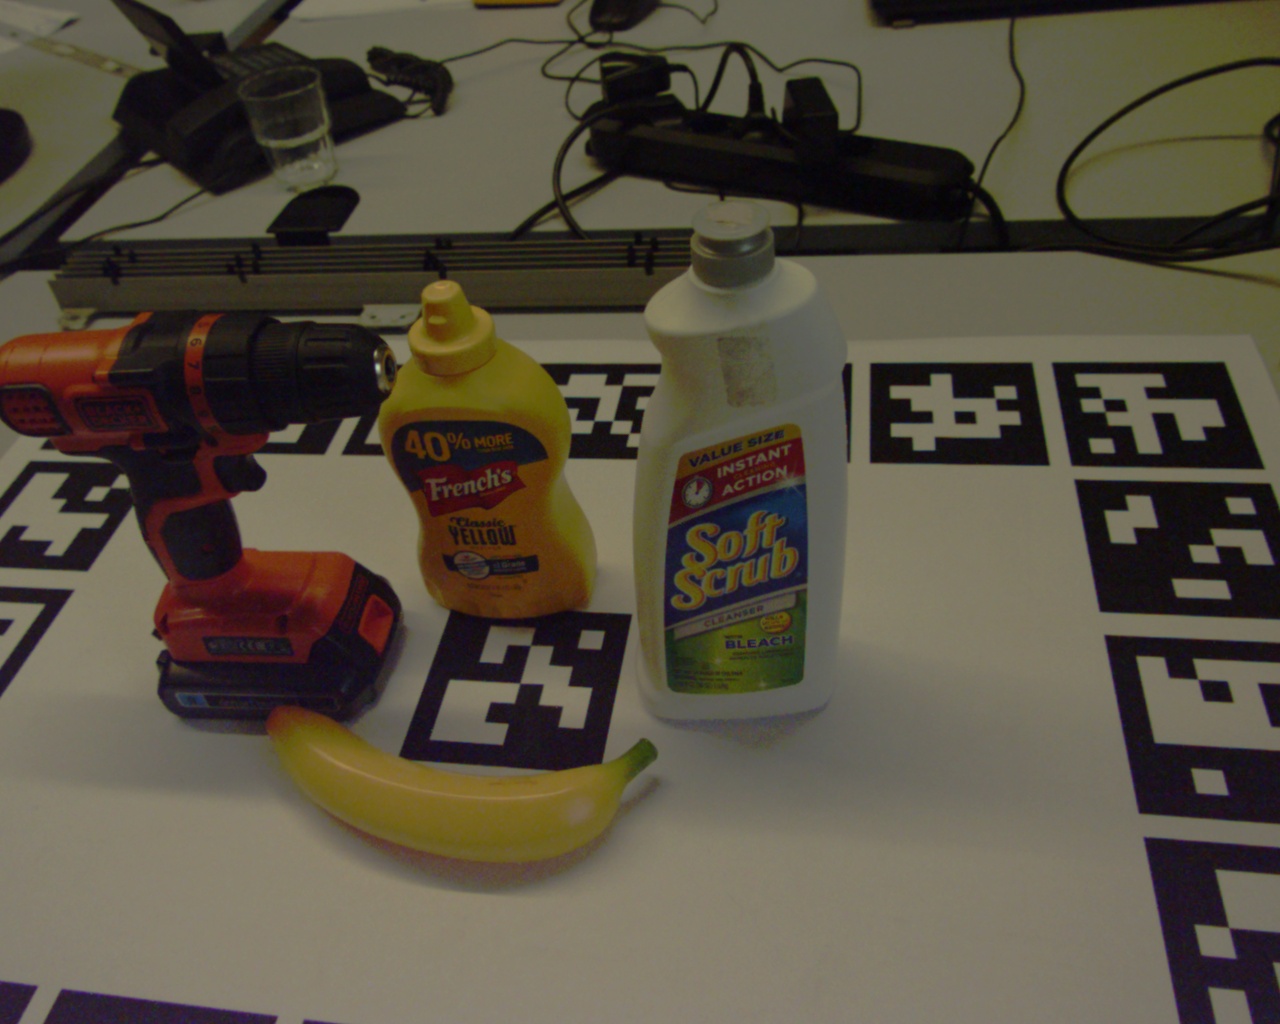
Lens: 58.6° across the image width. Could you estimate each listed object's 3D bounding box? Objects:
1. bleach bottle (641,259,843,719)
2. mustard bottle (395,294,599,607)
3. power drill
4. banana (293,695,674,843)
[{"bbox_3d":[0.041,-0.002,0.528,0.103,0.249,0.068,-4,45,4],"label":"bleach bottle"},{"bbox_3d":[-0.078,-0.031,0.607,0.096,0.190,0.058,3,44,9],"label":"mustard bottle"},{"bbox_3d":[-0.188,-0.004,0.570,0.185,0.186,0.057,1,38,6],"label":"power drill"},{"bbox_3d":[-0.085,0.122,0.557,0.199,0.038,0.074,2,49,14],"label":"banana"}]
